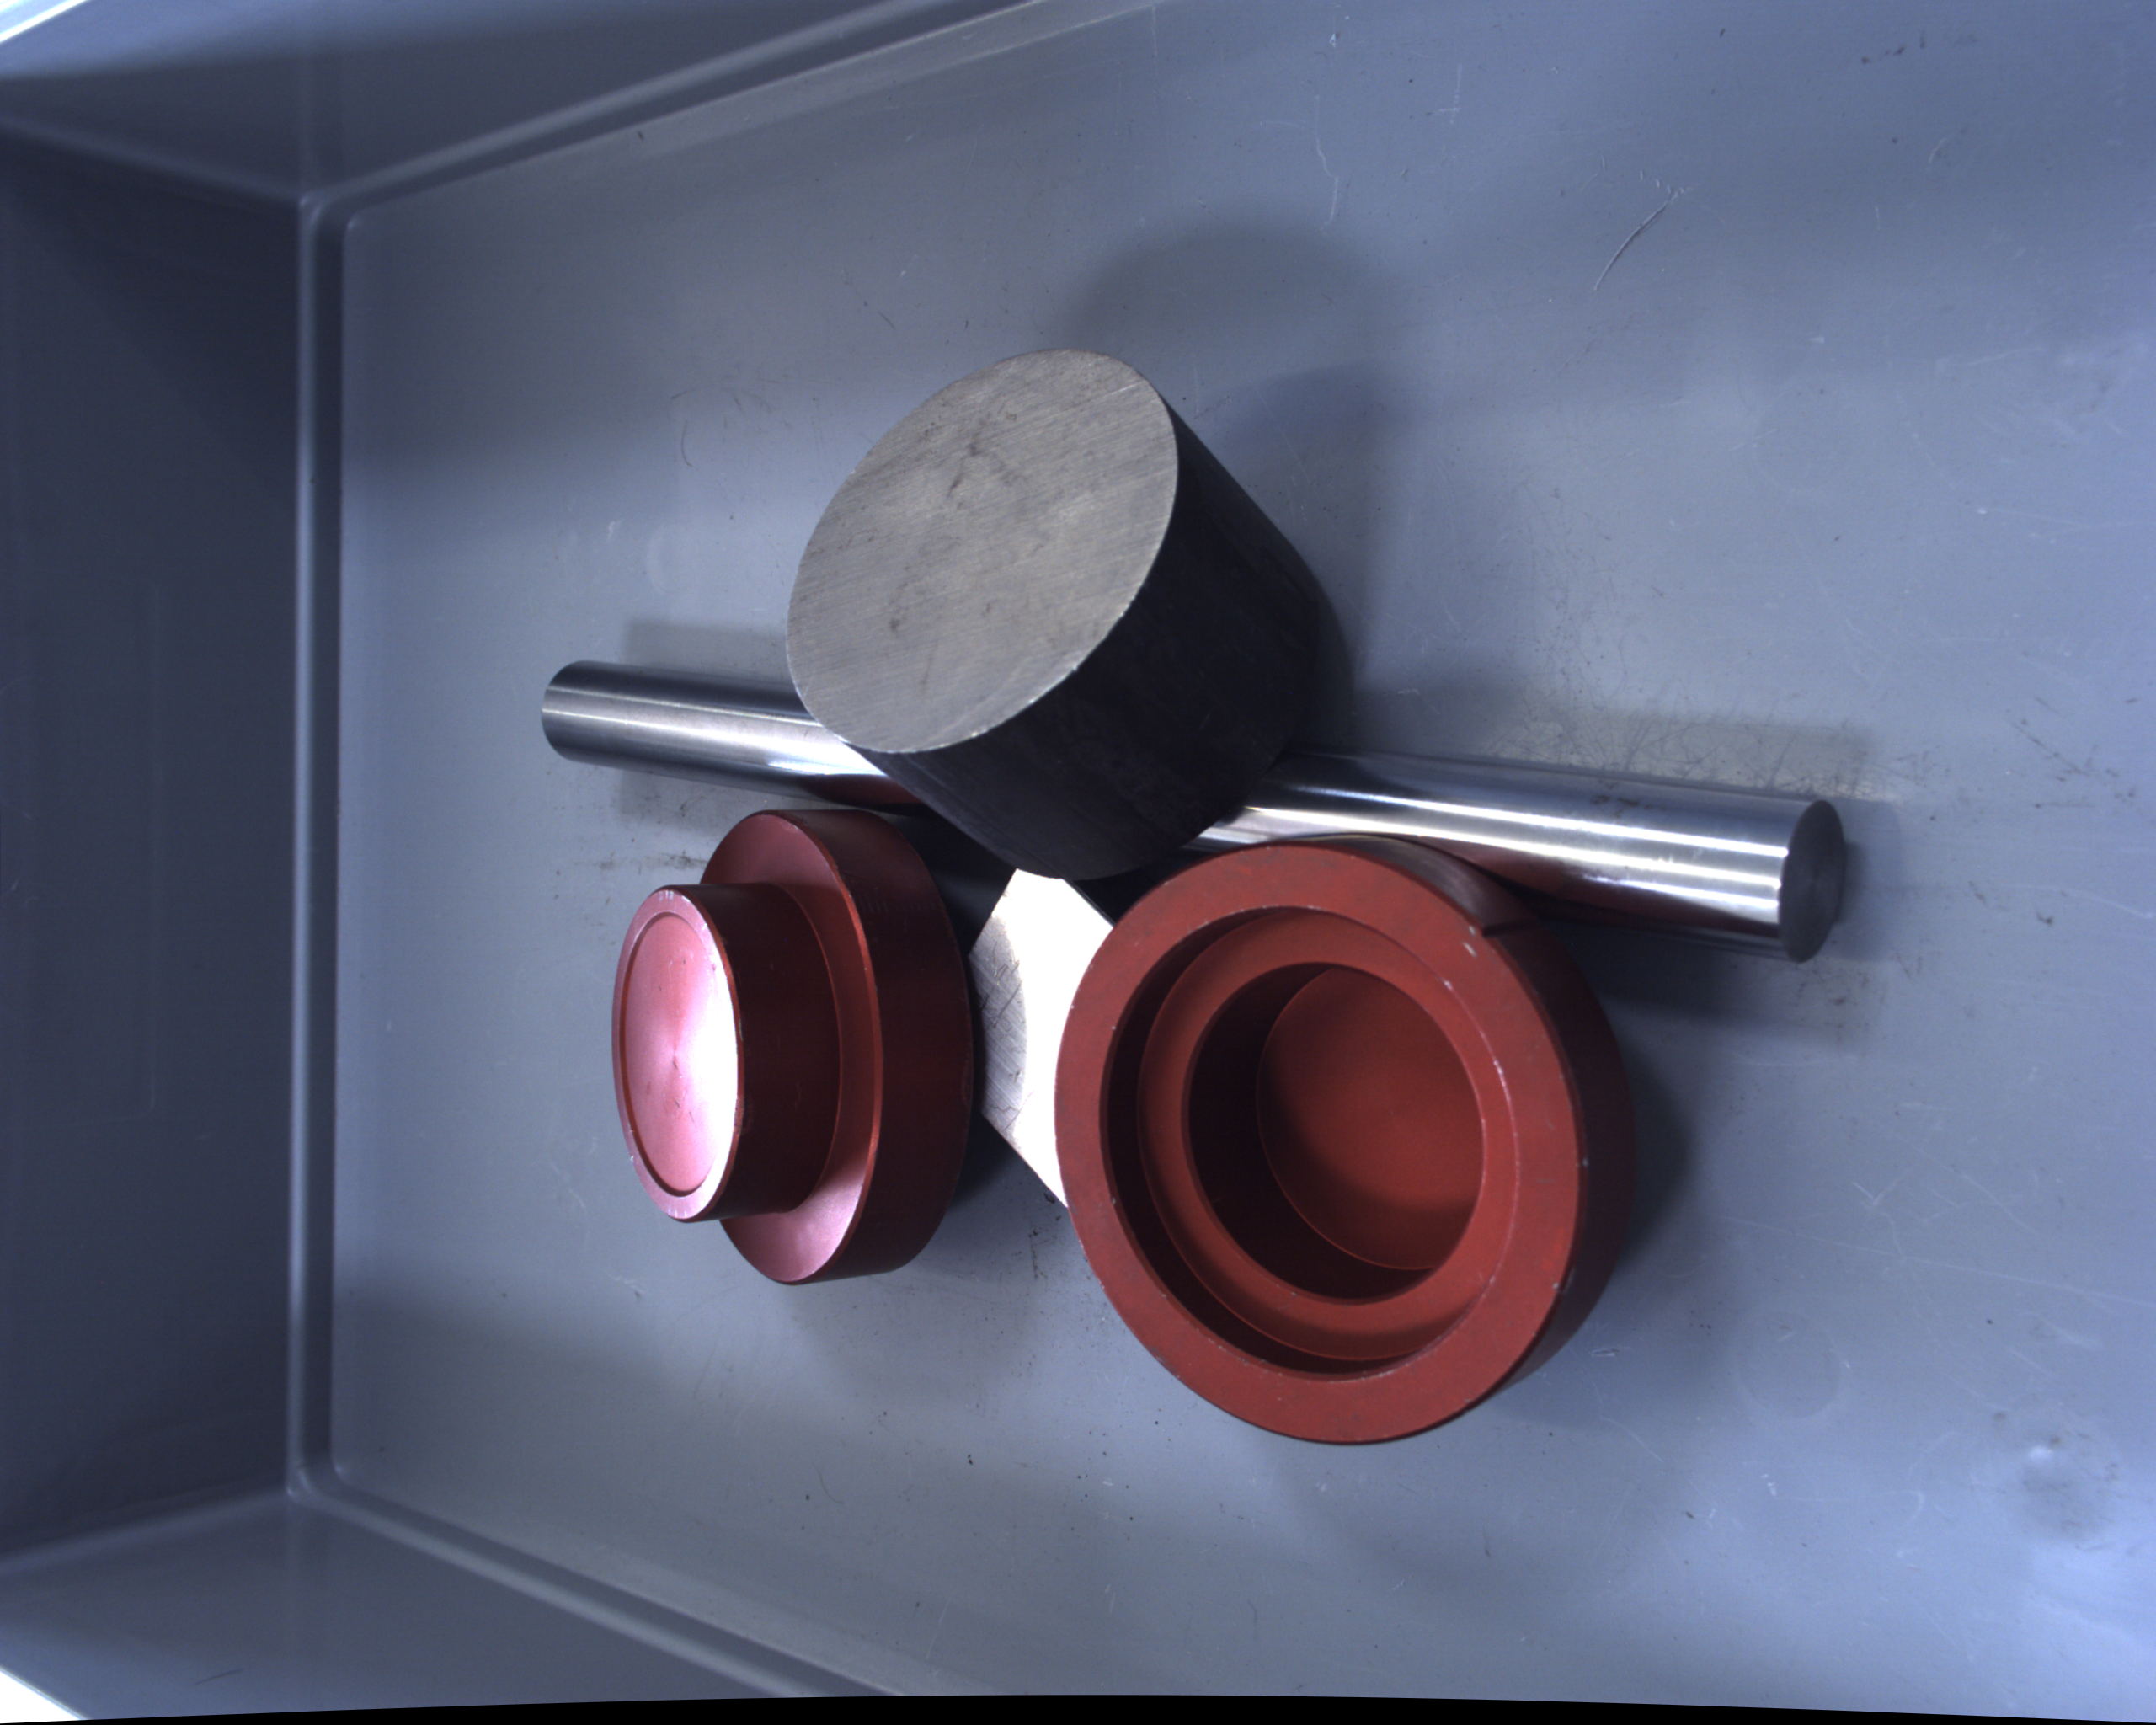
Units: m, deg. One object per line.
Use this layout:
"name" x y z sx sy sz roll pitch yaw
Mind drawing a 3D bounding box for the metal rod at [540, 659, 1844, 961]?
"metal rod" -0.004 -0.017 0.408 0.300 0.025 0.025 10 96 39

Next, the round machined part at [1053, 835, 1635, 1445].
"round machined part" 0.047 0.044 0.352 0.098 0.042 0.097 2 94 37

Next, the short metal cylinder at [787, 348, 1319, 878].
"short metal cylinder" -0.004 -0.044 0.373 0.080 0.050 0.080 -17 55 27

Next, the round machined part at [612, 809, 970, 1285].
"round machined part" -0.064 0.038 0.429 0.098 0.042 0.097 3 93 58

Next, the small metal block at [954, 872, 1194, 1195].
"small metal block" 0.003 0.031 0.402 0.050 0.025 0.050 44 116 31
